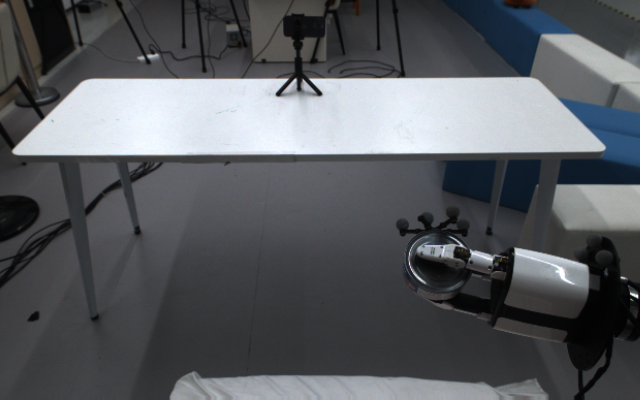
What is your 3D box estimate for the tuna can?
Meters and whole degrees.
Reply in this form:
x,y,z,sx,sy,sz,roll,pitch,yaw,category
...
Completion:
x,y,z,sx,sy,sz,roll,pitch,yaw,category
0.150,0.081,0.616,0.085,0.034,0.085,-2,58,3,tuna can
